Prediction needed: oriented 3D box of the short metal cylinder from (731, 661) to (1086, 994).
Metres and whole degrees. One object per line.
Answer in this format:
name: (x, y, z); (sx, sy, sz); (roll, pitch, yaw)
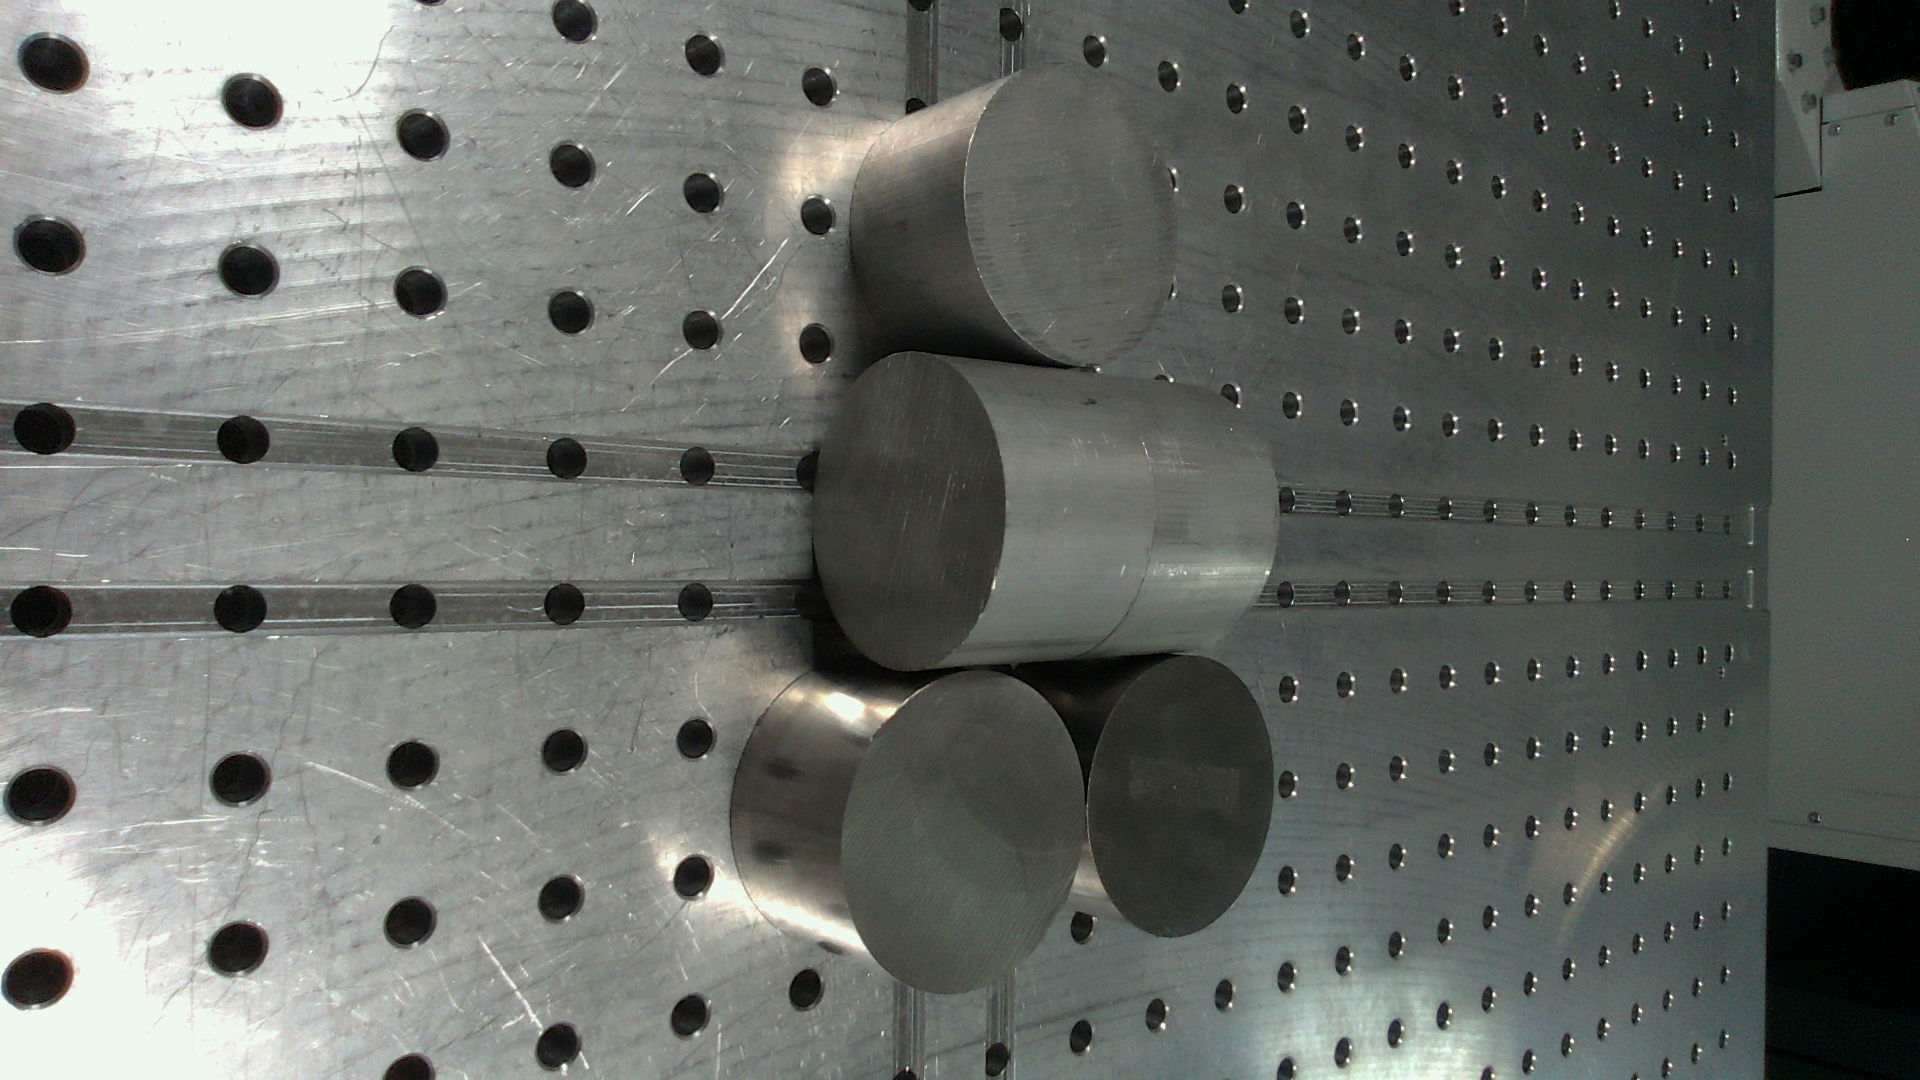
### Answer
short metal cylinder: (-0.013, 0.073, 0.364); (0.080, 0.050, 0.080); (0, 90, -40)

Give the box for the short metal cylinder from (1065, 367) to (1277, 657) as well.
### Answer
short metal cylinder: (0.042, -0.007, 0.392); (0.050, 0.080, 0.080); (0, 90, -40)

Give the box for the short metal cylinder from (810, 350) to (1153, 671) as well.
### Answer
short metal cylinder: (0.004, -0.007, 0.360); (0.050, 0.080, 0.080); (0, 90, -40)

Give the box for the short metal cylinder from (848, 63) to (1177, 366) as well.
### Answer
short metal cylinder: (0.016, -0.087, 0.388); (0.080, 0.050, 0.080); (0, 90, -40)

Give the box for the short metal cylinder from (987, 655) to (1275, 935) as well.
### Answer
short metal cylinder: (0.050, 0.073, 0.415); (0.080, 0.050, 0.080); (0, 90, -40)
